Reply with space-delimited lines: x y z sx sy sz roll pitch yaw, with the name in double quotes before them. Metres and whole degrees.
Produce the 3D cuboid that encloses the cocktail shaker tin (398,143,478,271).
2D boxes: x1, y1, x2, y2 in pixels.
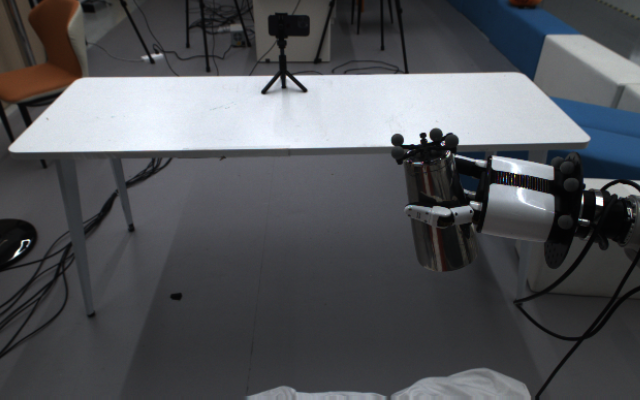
"cocktail shaker tin" 0.168 0.006 0.689 0.093 0.170 0.093 -15 29 8
